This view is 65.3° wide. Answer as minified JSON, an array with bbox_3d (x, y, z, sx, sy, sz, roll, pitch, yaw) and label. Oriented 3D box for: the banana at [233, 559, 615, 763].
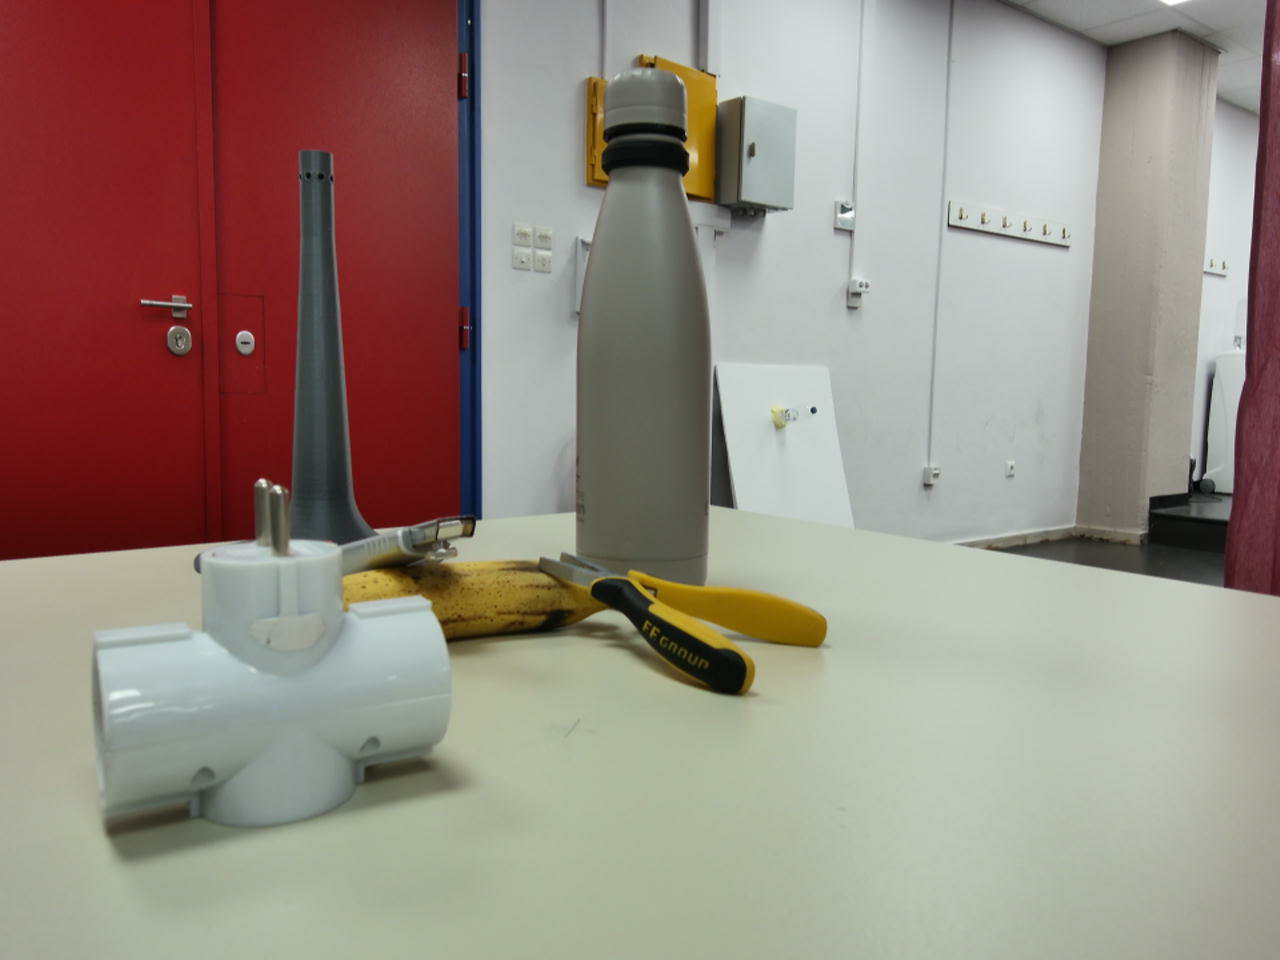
[{"bbox_3d":[-0.091,0.059,0.411,0.097,0.038,0.186,2,4,24],"label":"banana"}]
